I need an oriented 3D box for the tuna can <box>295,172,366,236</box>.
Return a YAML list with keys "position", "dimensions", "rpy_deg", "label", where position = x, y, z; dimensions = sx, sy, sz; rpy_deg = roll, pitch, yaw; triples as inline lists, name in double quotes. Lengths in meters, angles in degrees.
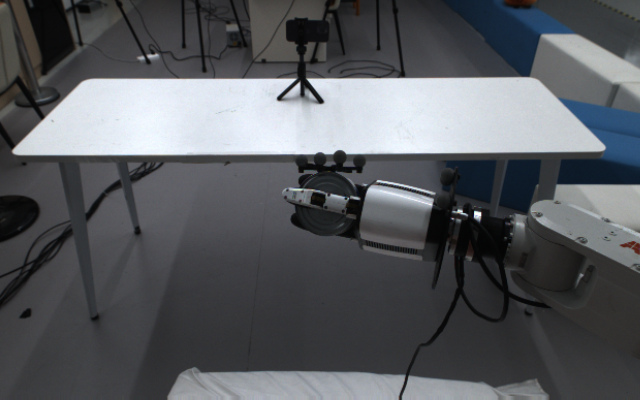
- position: [0.013, 0.005, 0.647]
  dimensions: [0.085, 0.085, 0.034]
  rpy_deg: [13, -2, 15]
  label: "tuna can"
